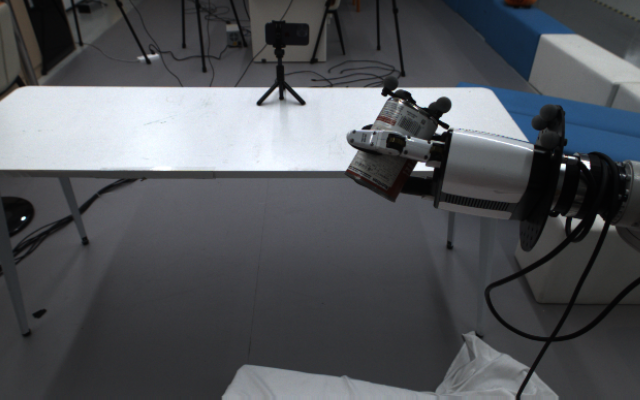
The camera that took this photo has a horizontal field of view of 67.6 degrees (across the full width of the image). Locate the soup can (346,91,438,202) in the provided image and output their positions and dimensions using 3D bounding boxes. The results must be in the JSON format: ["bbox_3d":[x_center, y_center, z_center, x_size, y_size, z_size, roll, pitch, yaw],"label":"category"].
[{"bbox_3d":[0.083,-0.058,0.560,0.067,0.101,0.067,30,2,-1],"label":"soup can"}]
